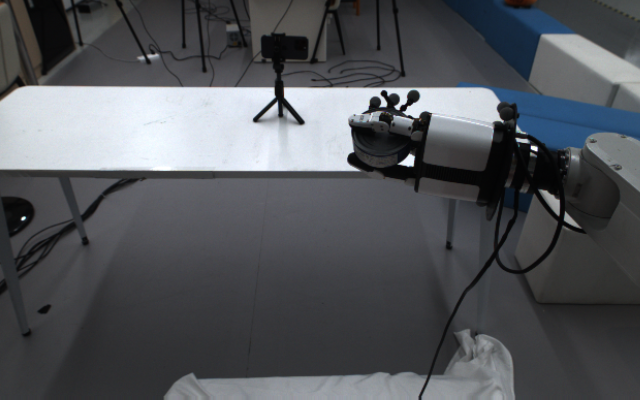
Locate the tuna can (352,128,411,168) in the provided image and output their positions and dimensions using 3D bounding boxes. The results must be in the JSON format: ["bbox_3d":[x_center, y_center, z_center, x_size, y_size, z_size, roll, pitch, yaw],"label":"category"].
[{"bbox_3d":[0.088,-0.089,0.685,0.085,0.034,0.085,-4,56,6],"label":"tuna can"}]
